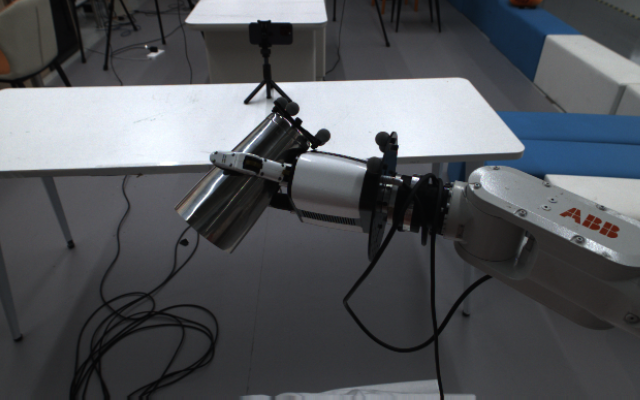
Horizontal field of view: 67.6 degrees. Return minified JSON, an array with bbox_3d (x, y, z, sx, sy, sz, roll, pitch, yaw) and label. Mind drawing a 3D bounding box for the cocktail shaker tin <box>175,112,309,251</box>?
[{"bbox_3d":[-0.091,-0.029,0.615,0.170,0.093,0.093,-48,49,-4],"label":"cocktail shaker tin"}]
